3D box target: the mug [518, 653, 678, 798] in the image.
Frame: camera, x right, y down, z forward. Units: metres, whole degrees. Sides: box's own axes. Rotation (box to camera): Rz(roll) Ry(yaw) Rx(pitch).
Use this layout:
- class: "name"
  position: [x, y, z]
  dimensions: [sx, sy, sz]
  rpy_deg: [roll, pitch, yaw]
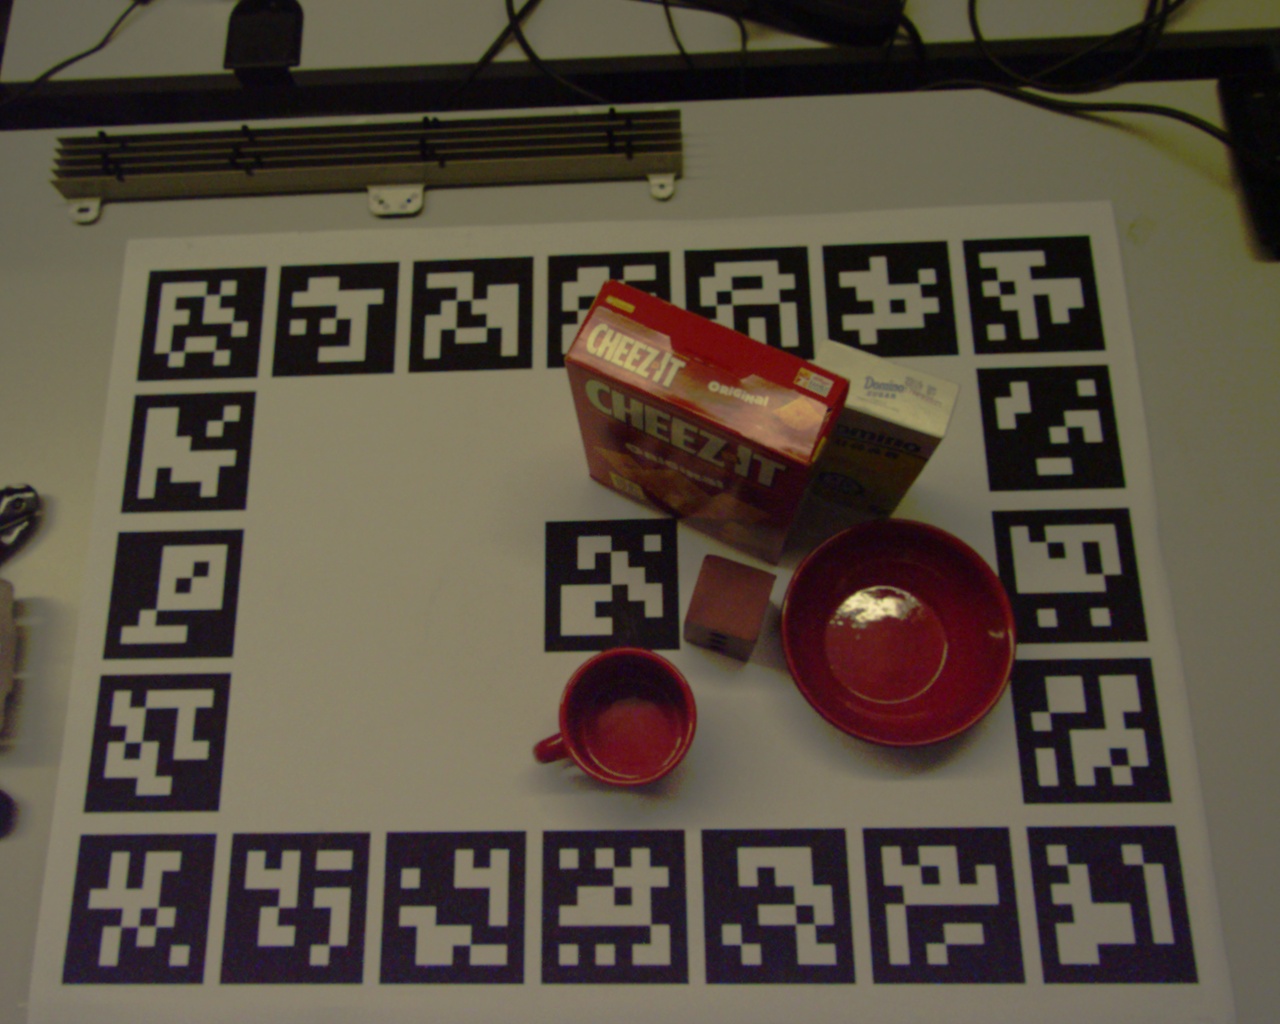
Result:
- class: "mug"
  position: [-0.029, 0.159, 0.815]
  dimensions: [0.117, 0.081, 0.094]
  rpy_deg: [-10, 65, 2]

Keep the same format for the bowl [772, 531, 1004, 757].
- class: "bowl"
  position: [0.175, 0.098, 0.827]
  dimensions: [0.162, 0.055, 0.162]
  rpy_deg: [-1, 74, 3]

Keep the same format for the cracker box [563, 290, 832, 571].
- class: "cracker box"
  position: [0.034, -0.046, 0.809]
  dimensions: [0.165, 0.213, 0.072]
  rpy_deg: [28, 74, 10]

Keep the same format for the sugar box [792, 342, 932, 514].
- class: "sugar box"
  position: [0.145, -0.055, 0.823]
  dimensions: [0.093, 0.176, 0.045]
  rpy_deg: [20, 75, 9]

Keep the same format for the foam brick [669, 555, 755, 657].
- class: "foam brick"
  position: [0.053, 0.071, 0.847]
  dimensions: [0.053, 0.078, 0.051]
  rpy_deg: [14, 74, 7]
